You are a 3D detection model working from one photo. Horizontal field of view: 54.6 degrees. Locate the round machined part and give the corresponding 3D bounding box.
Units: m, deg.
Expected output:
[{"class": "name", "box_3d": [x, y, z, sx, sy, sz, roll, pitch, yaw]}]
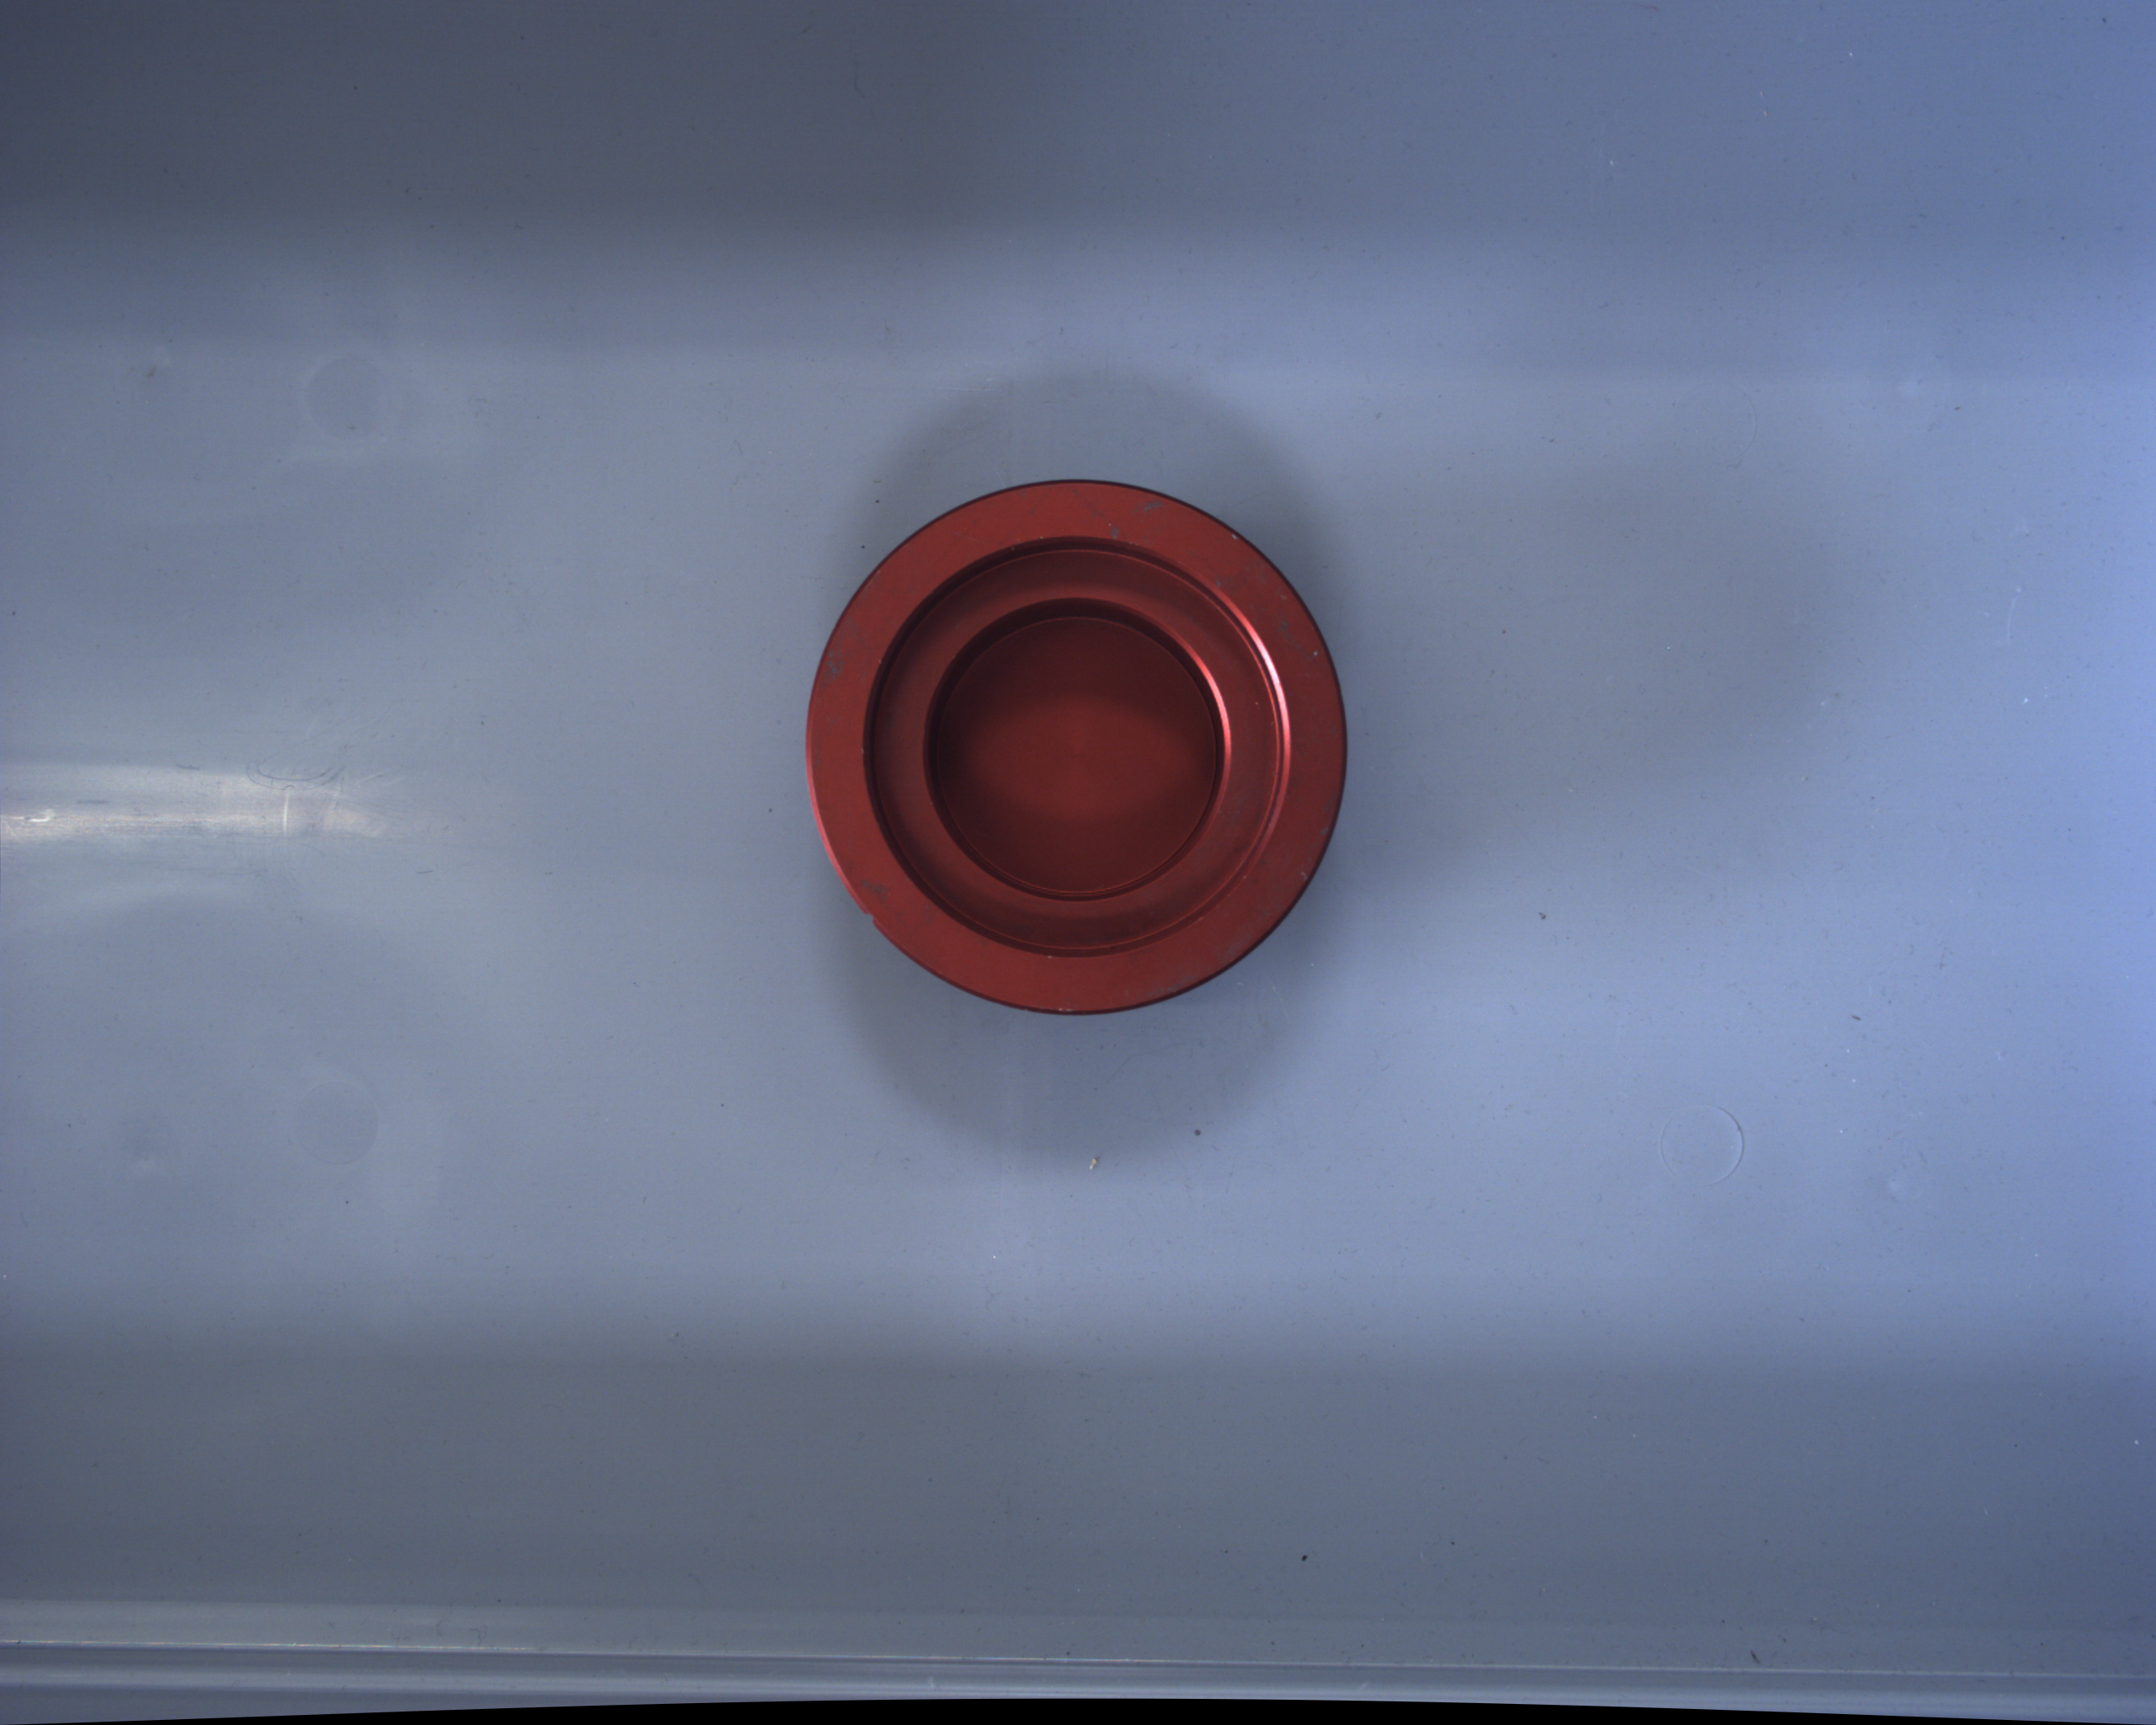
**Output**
[{"class": "round machined part", "box_3d": [0.000, -0.021, 0.400, 0.099, 0.042, 0.097, 0, 90, 0]}]
